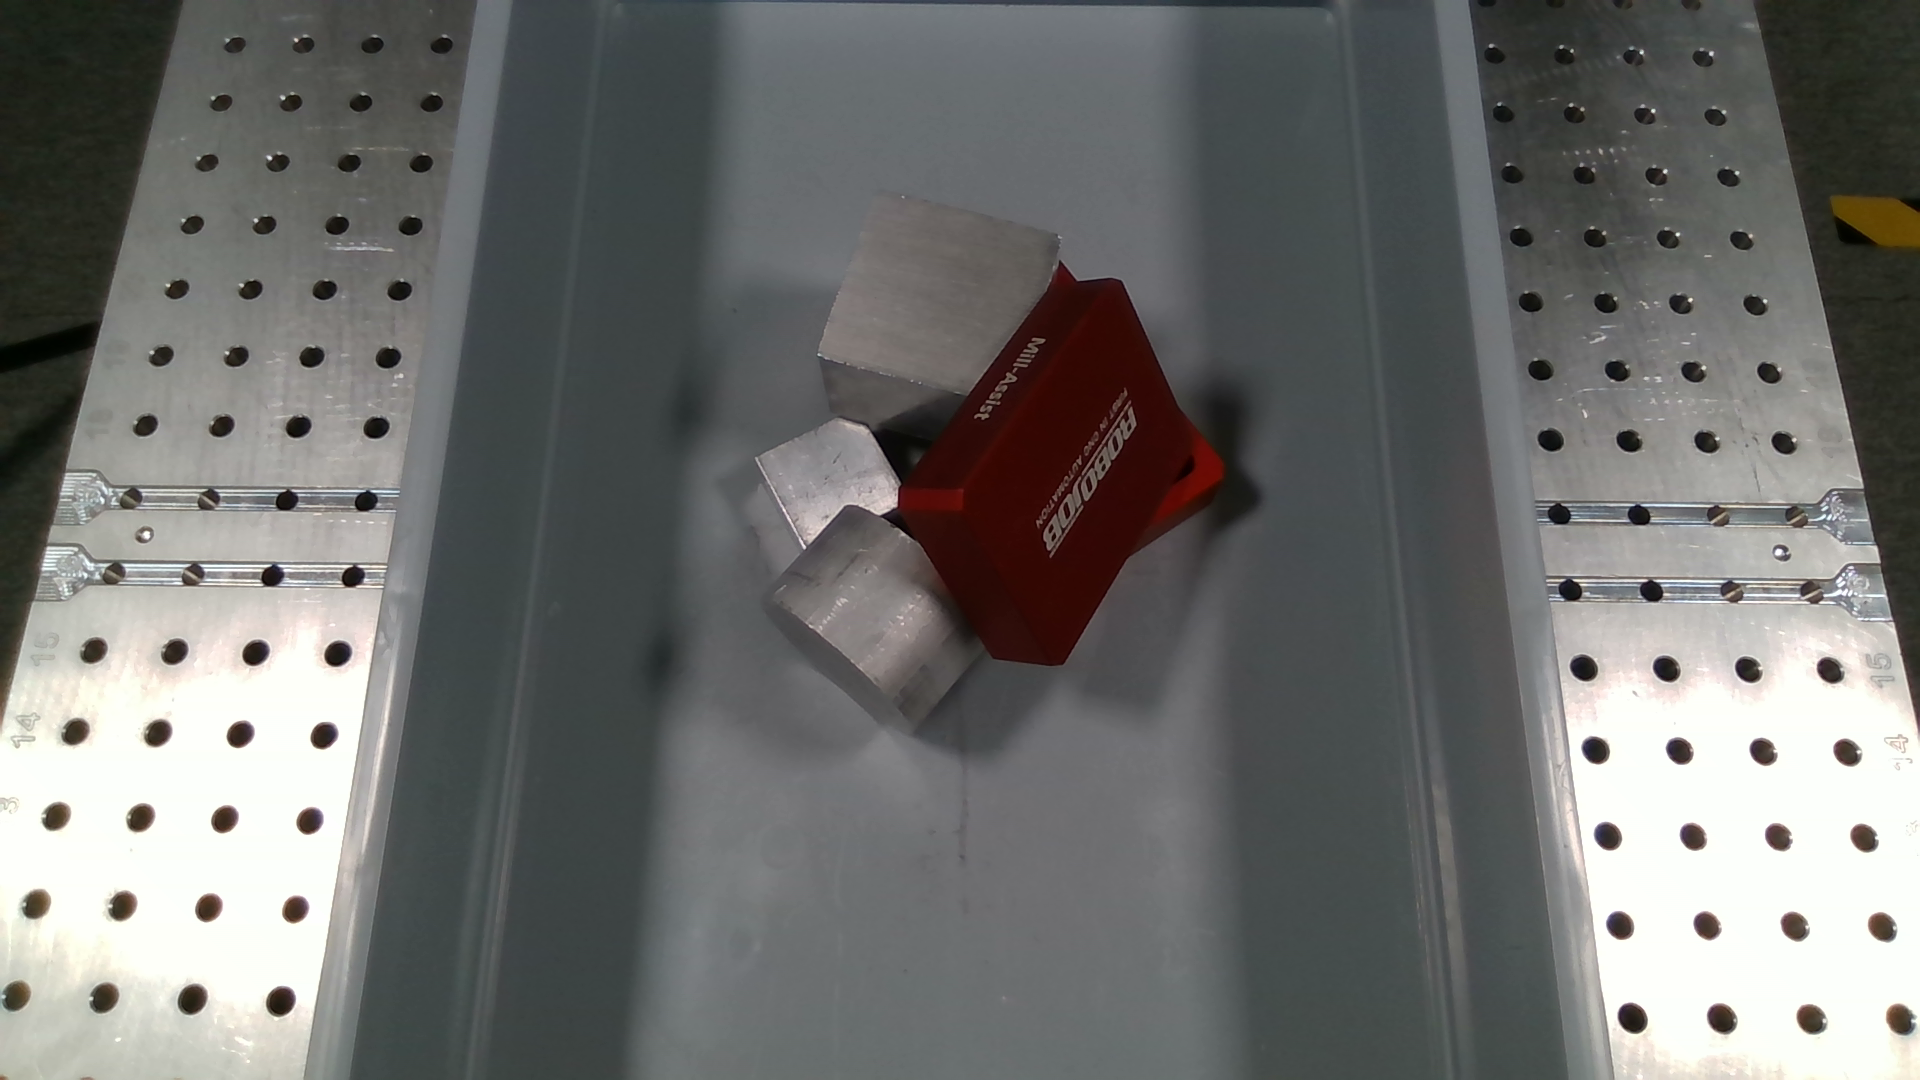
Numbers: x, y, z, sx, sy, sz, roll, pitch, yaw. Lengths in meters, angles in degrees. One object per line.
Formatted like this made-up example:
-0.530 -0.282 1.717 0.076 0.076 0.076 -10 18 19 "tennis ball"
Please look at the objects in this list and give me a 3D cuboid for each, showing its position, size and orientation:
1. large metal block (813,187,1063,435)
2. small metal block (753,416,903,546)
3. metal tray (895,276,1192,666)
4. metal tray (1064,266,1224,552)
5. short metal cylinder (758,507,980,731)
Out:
-0.008 -0.090 0.572 0.080 0.050 0.080 15 71 5 "large metal block"
-0.054 -0.022 0.595 0.050 0.025 0.050 -28 73 -9 "small metal block"
0.037 -0.028 0.531 0.030 0.090 0.130 3 47 41 "metal tray"
0.041 -0.051 0.602 0.090 0.030 0.130 -33 74 -11 "metal tray"
-0.033 0.032 0.547 0.080 0.080 0.050 37 74 12 "short metal cylinder"
